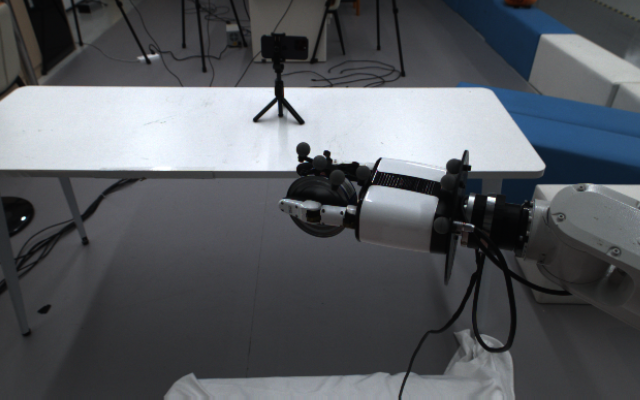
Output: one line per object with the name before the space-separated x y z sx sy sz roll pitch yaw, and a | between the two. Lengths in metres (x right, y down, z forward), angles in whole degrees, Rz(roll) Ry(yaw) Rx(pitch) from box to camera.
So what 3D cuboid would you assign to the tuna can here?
tuna can | 0.005 0.001 0.609 0.085 0.085 0.034 16 29 19
